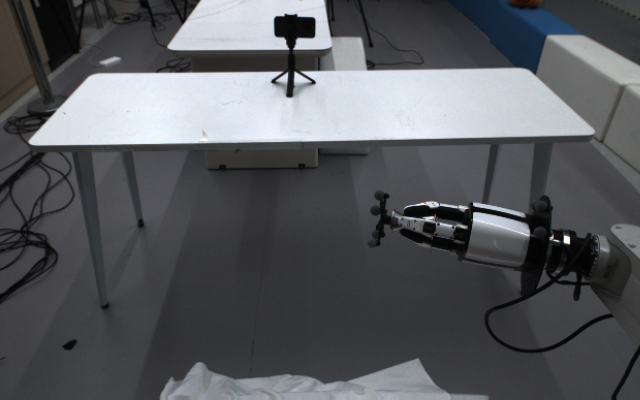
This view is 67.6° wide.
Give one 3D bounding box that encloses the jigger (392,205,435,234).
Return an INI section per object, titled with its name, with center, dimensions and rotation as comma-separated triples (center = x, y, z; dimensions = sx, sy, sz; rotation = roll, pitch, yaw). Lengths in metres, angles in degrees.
[jigger]
center = 0.157, 0.035, 0.783
dimensions = 0.071, 0.043, 0.043
rotation = 7, 35, 15
